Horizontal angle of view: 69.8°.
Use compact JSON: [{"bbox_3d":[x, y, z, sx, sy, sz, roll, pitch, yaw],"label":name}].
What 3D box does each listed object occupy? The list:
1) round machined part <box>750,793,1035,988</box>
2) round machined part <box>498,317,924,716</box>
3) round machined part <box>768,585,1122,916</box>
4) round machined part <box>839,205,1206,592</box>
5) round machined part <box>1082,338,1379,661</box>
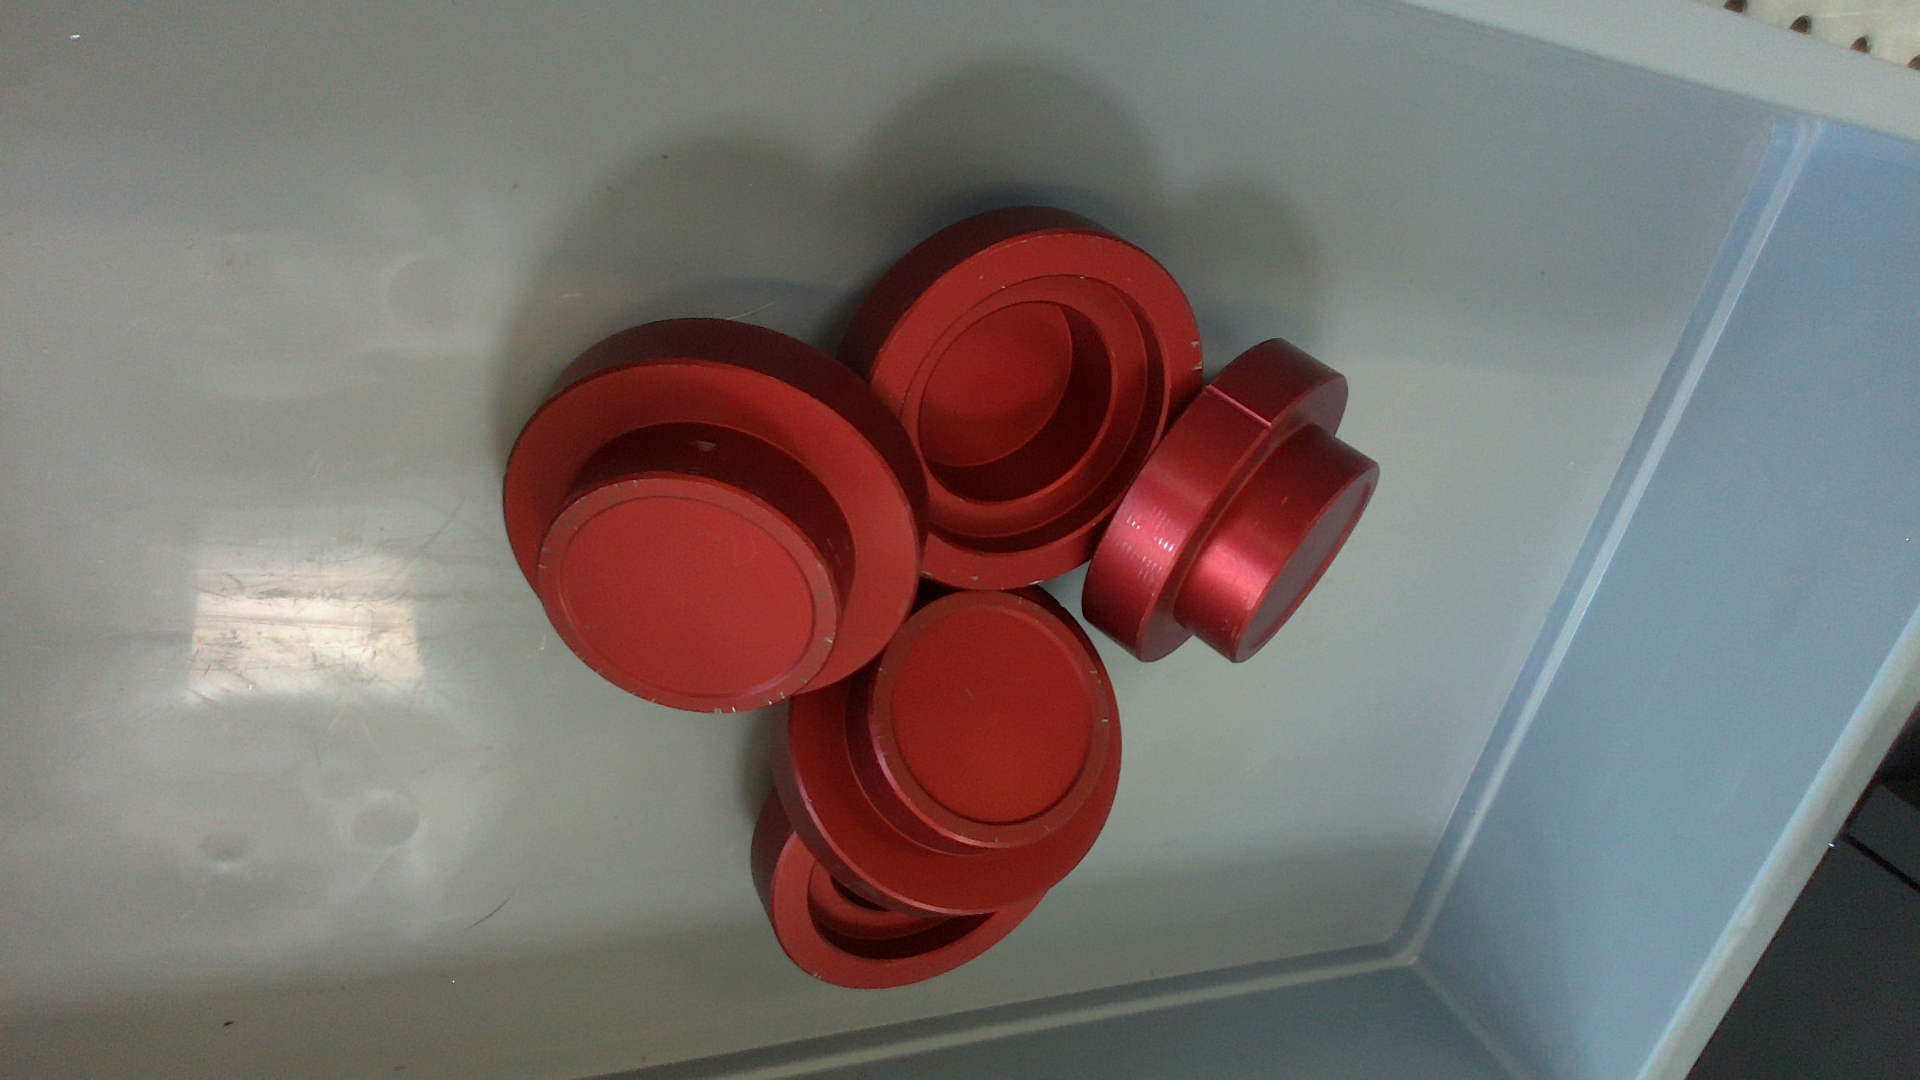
[{"bbox_3d":[-0.017,0.085,0.419,0.098,0.042,0.098,-14,124,-21],"label":"round machined part"},{"bbox_3d":[-0.059,0.002,0.318,0.098,0.042,0.098,3,126,4],"label":"round machined part"},{"bbox_3d":[0.001,0.051,0.372,0.098,0.098,0.042,-6,166,-25],"label":"round machined part"},{"bbox_3d":[0.011,-0.039,0.358,0.098,0.042,0.098,-14,124,-21],"label":"round machined part"},{"bbox_3d":[0.081,-0.004,0.389,0.098,0.042,0.098,-44,158,-23],"label":"round machined part"}]
